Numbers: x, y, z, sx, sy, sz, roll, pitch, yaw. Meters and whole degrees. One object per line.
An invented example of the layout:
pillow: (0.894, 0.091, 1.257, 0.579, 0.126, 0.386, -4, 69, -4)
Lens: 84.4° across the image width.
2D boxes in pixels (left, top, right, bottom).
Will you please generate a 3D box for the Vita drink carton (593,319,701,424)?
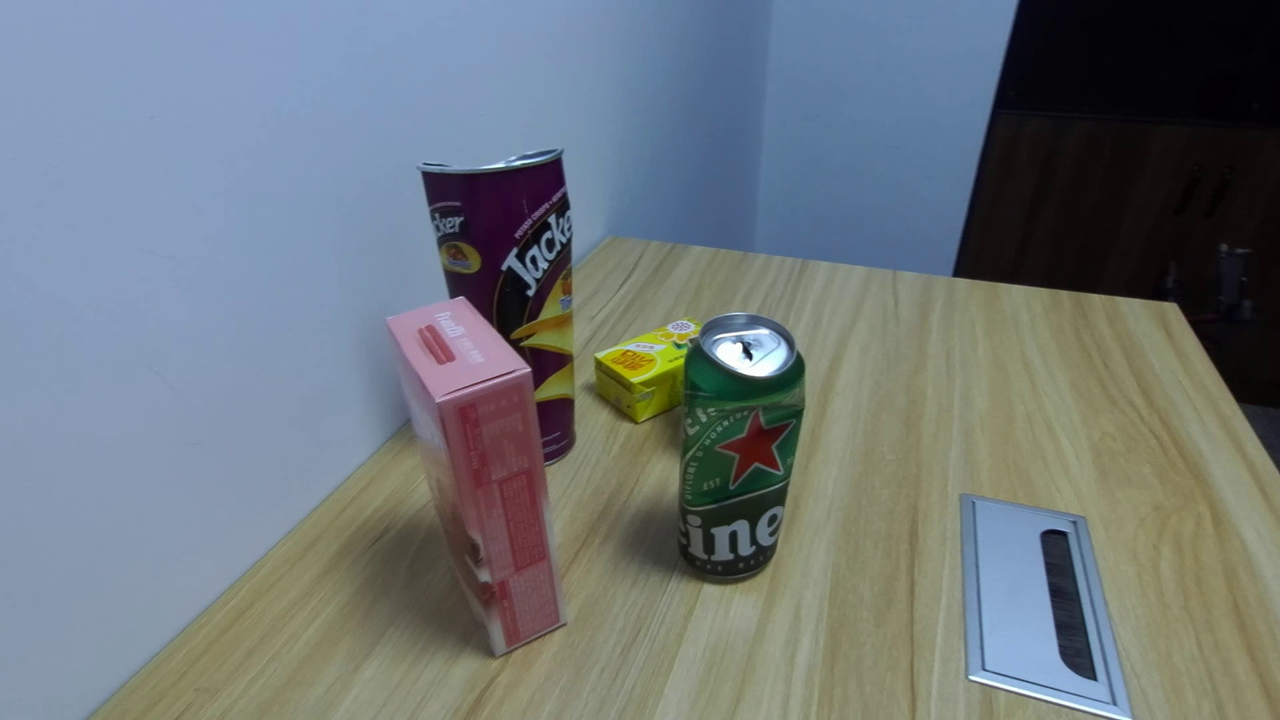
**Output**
Vita drink carton: (0.020, 0.007, 0.653, 0.109, 0.043, 0.066, -23, 37, -30)

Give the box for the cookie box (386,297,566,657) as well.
cookie box: (-0.090, 0.069, 0.402, 0.048, 0.185, 0.095, -19, 36, -25)

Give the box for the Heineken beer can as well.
Heineken beer can: (0.058, 0.058, 0.428, 0.068, 0.168, 0.069, 12, 35, 15)

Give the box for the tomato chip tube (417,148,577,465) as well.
tomato chip tube: (-0.093, -0.034, 0.524, 0.077, 0.235, 0.076, 11, 34, 20)
